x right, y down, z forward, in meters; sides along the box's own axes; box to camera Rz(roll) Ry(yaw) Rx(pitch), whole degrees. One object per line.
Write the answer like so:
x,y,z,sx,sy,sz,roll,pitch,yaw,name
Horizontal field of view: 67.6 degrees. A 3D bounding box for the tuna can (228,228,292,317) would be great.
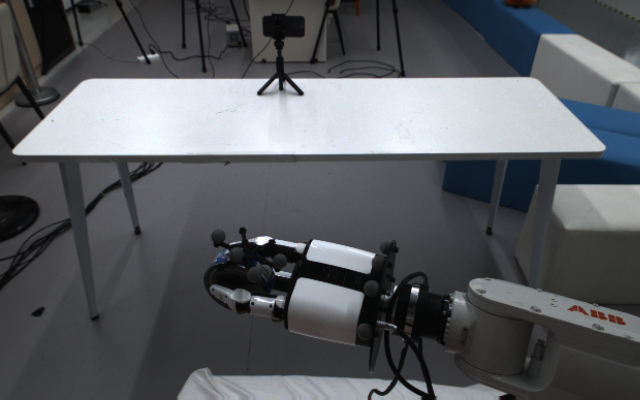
-0.099,0.103,0.616,0.085,0.085,0.034,9,35,10,tuna can
